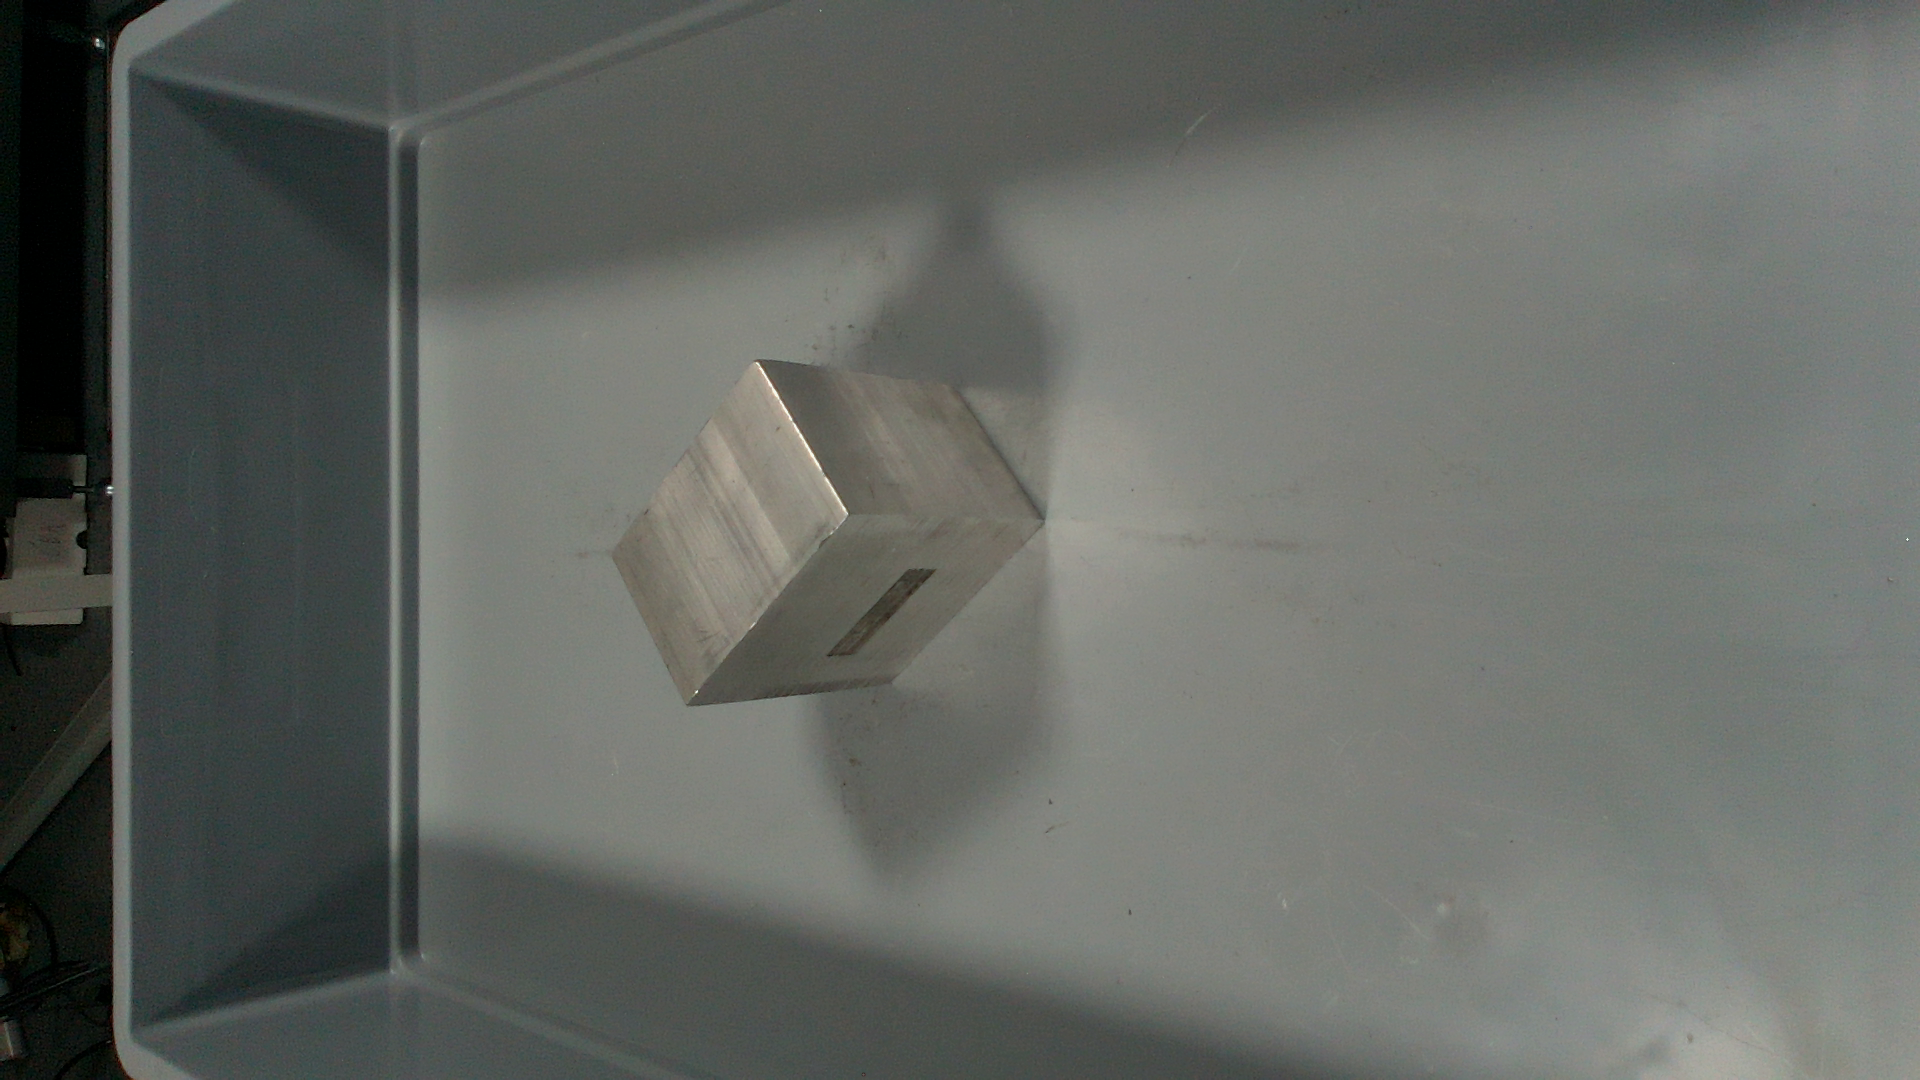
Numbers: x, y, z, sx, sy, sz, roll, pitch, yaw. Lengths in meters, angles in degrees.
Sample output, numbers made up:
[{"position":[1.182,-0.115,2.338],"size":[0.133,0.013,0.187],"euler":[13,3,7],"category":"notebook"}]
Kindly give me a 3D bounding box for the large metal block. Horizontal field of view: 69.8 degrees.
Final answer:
[{"position":[-0.037,-0.001,0.387],"size":[0.080,0.080,0.050],"euler":[-48,62,30],"category":"large metal block"}]
